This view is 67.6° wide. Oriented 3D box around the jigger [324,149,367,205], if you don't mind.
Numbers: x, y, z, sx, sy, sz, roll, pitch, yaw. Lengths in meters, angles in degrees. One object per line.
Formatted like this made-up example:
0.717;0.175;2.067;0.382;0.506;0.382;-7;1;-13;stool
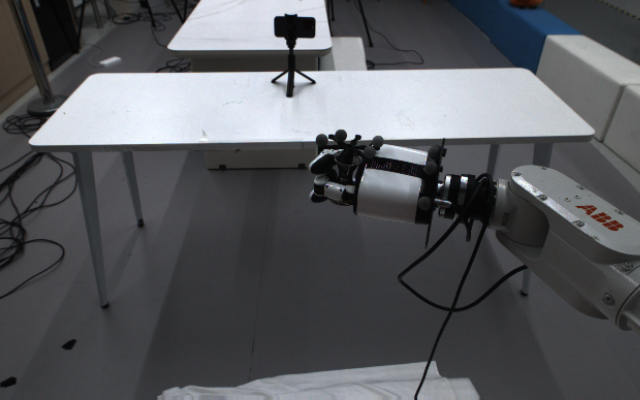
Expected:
0.041;-0.033;0.715;0.043;0.071;0.043;4;31;-2;jigger
